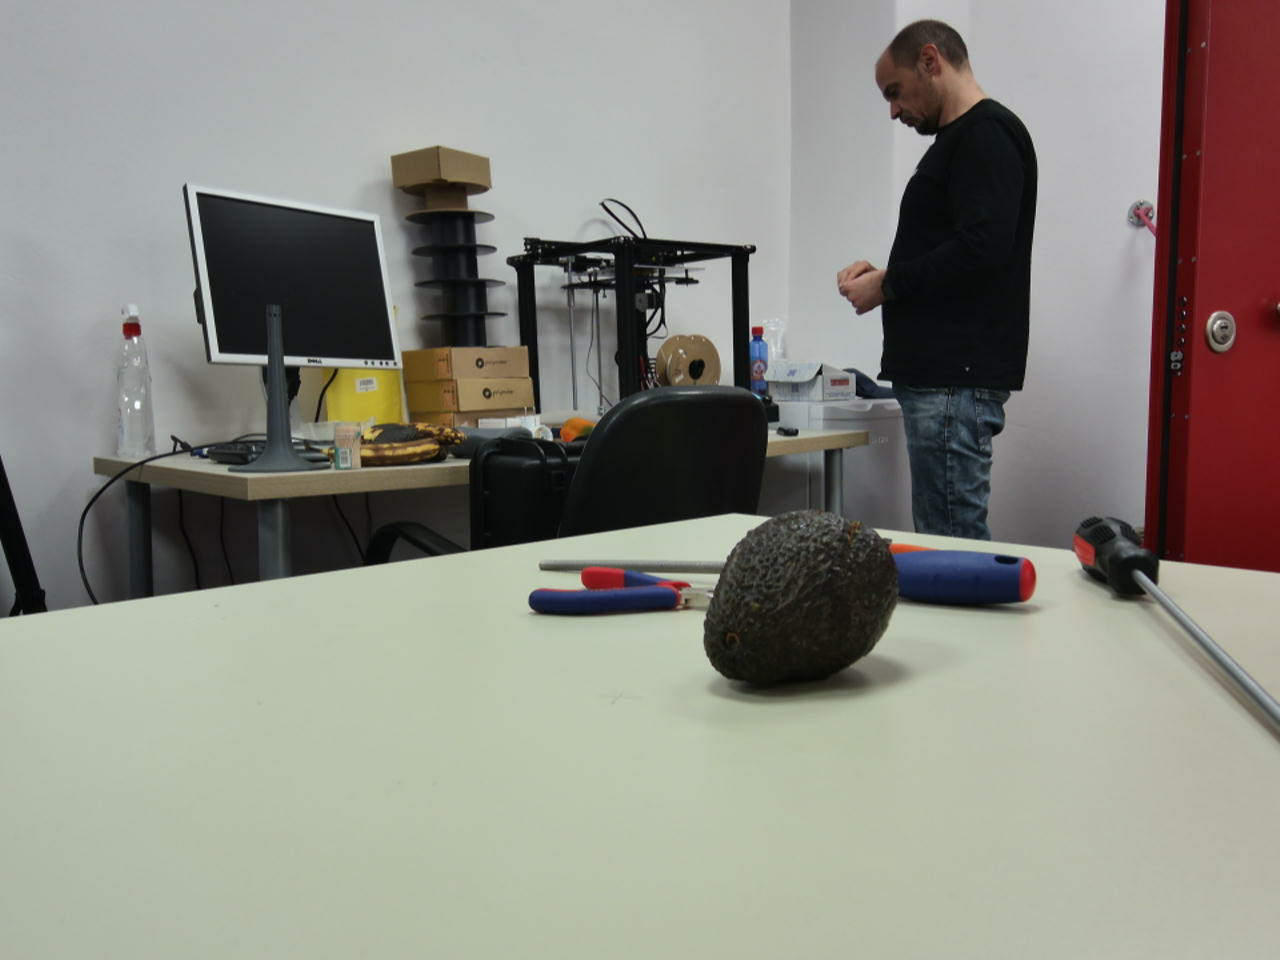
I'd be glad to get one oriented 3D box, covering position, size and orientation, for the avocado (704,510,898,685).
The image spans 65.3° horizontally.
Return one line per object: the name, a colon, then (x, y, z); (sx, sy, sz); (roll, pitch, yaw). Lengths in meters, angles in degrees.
avocado: (0.067, 0.048, 0.426); (0.090, 0.069, 0.070); (-1, 3, -15)
